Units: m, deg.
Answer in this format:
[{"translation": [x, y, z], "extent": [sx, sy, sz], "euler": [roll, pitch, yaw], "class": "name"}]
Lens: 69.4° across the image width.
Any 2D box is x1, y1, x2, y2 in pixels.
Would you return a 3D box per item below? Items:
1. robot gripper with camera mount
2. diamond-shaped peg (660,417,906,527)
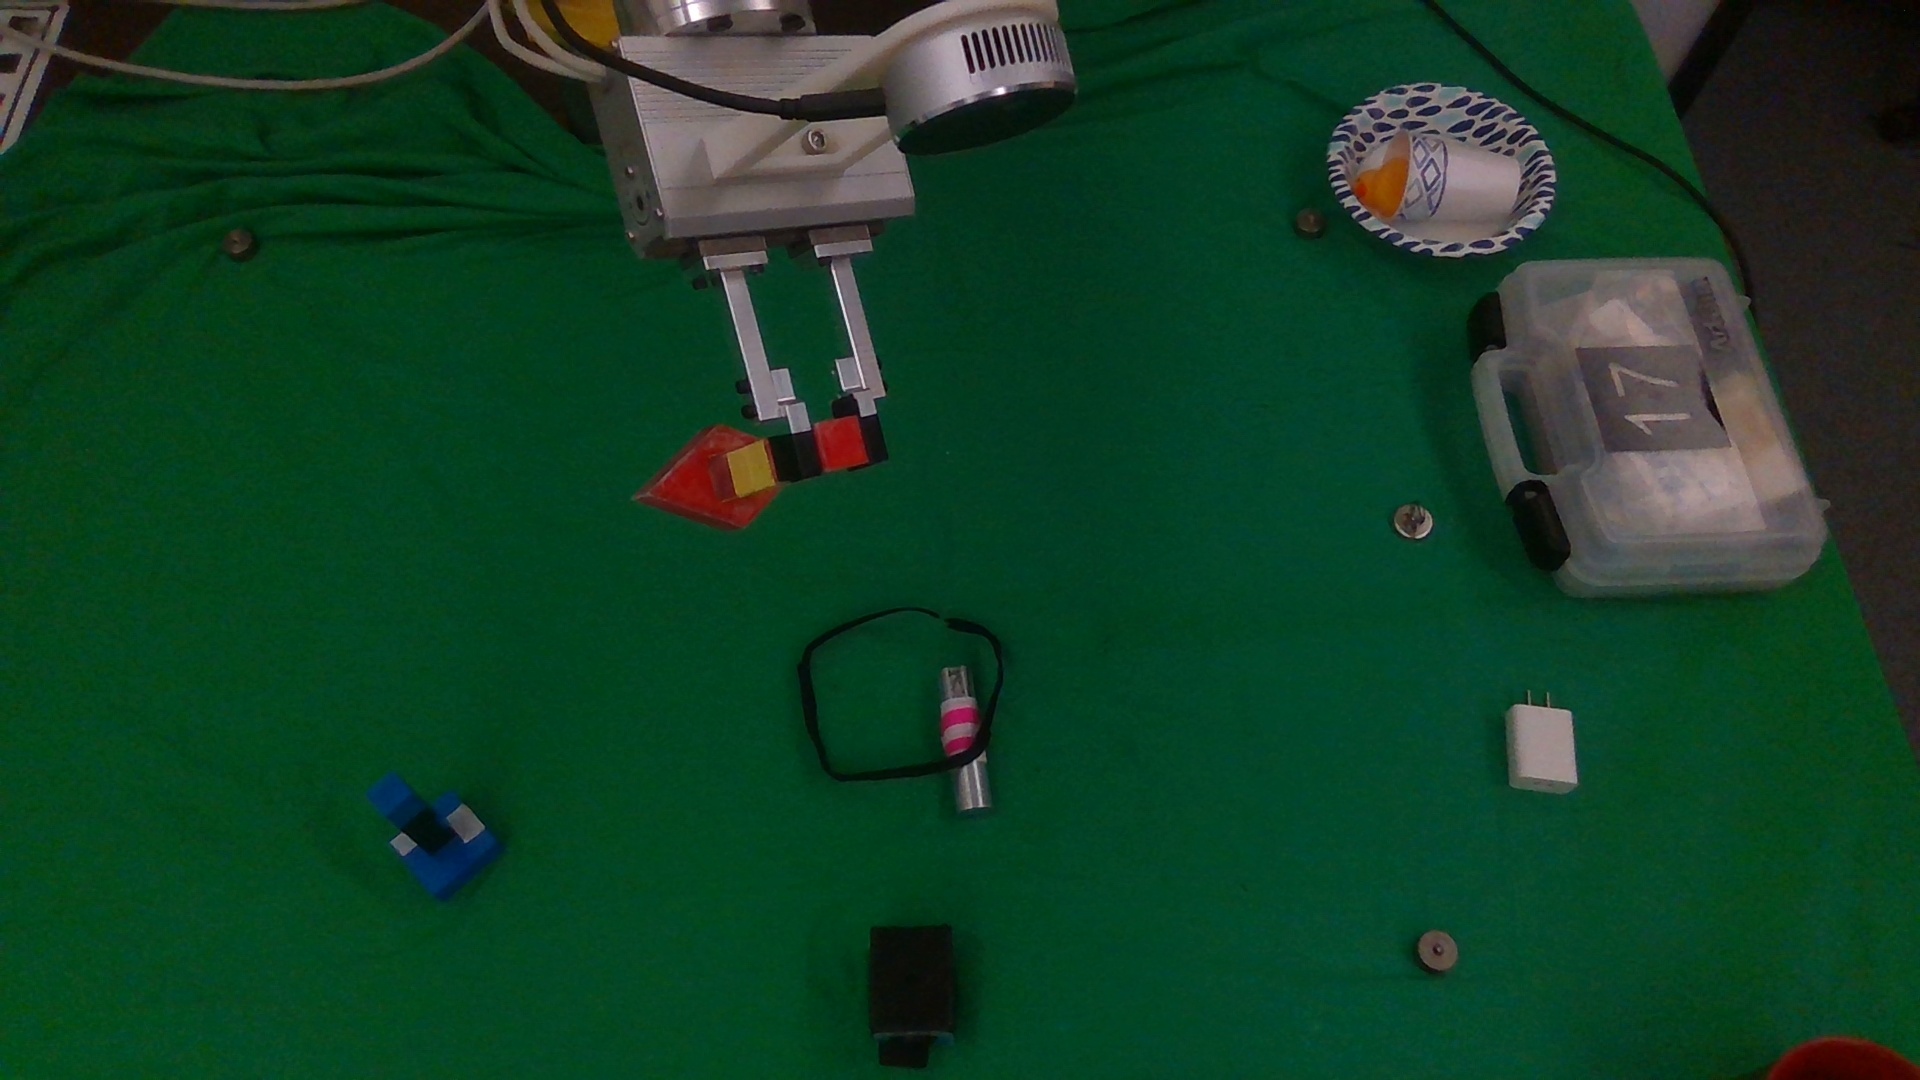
[{"translation": [-0.006, -0.114, 0.503], "extent": [0.118, 0.194, 0.158], "euler": [-18, 97, -43], "class": "robot gripper with camera mount"}, {"translation": [-0.068, -0.034, 0.595], "extent": [0.074, 0.122, 0.045], "euler": [-50, 114, -28], "class": "diamond-shaped peg"}]
